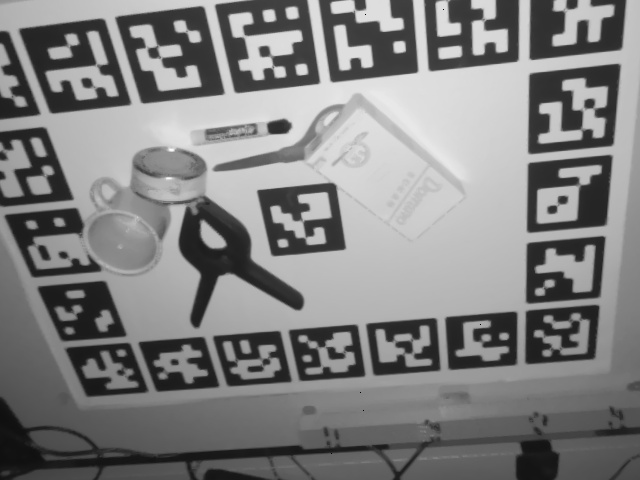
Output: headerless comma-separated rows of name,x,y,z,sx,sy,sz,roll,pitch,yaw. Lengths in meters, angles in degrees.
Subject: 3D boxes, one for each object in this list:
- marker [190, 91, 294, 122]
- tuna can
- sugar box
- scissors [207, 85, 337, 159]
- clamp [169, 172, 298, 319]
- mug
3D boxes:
marker,-0.089,-0.155,0.803,0.121,0.020,0.019,-8,118,7
tuna can,-0.188,-0.101,0.801,0.086,0.086,0.033,10,120,-2
sugar box,0.069,-0.102,0.802,0.092,0.045,0.177,-40,116,23
scissors,-0.039,-0.121,0.816,0.201,0.016,0.087,-14,121,13
clamp,-0.135,0.004,0.897,0.164,0.037,0.202,-14,116,12
mug,-0.239,-0.053,0.837,0.092,0.082,0.117,-30,117,19
